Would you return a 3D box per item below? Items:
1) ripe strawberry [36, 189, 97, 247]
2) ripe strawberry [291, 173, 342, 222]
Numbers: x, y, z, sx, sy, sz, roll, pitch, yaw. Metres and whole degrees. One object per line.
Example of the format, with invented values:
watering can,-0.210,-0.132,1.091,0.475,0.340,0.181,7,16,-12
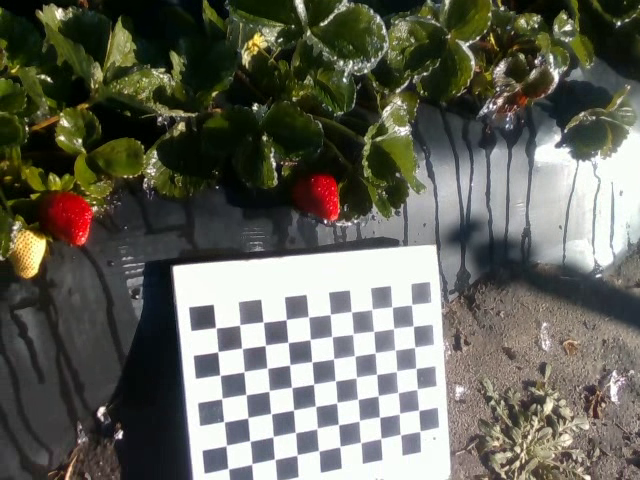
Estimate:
ripe strawberry,-0.221,-0.013,0.436,0.042,0.061,0.046,-19,-35,-15
ripe strawberry,-0.002,-0.043,0.494,0.048,0.061,0.044,-12,-28,-16
